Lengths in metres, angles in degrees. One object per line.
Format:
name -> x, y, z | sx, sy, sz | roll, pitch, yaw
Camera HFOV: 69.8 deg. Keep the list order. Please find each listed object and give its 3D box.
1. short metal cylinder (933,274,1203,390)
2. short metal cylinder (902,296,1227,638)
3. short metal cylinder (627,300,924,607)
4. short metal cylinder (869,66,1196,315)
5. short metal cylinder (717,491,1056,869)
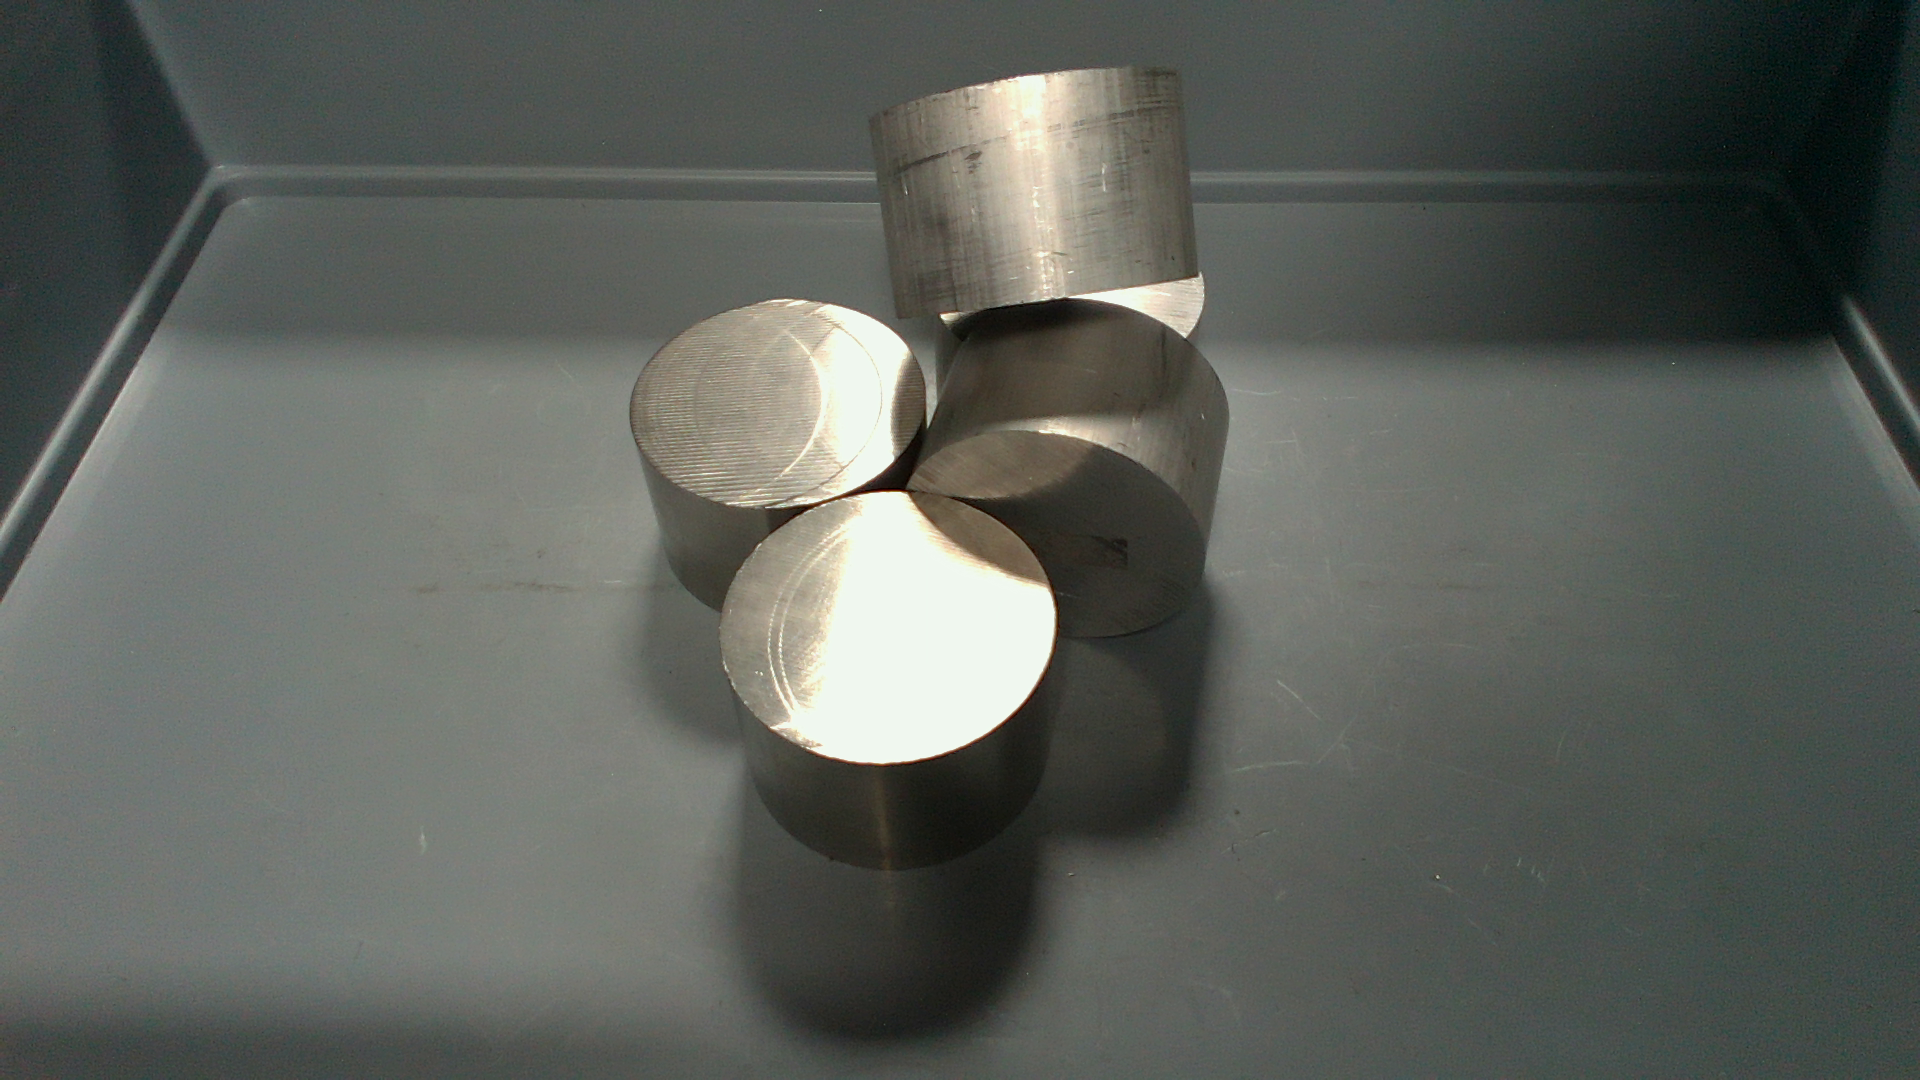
short metal cylinder -> 0.032, -0.060, 0.424 | 0.080, 0.050, 0.080 | 0, 50, 0
short metal cylinder -> 0.029, -0.018, 0.370 | 0.080, 0.080, 0.050 | 10, 51, 9
short metal cylinder -> -0.050, -0.023, 0.392 | 0.080, 0.050, 0.080 | 0, 50, 0
short metal cylinder -> 0.019, -0.089, 0.357 | 0.080, 0.050, 0.080 | -7, 10, 1
short metal cylinder -> -0.017, 0.034, 0.344 | 0.080, 0.050, 0.080 | 0, 50, 0
